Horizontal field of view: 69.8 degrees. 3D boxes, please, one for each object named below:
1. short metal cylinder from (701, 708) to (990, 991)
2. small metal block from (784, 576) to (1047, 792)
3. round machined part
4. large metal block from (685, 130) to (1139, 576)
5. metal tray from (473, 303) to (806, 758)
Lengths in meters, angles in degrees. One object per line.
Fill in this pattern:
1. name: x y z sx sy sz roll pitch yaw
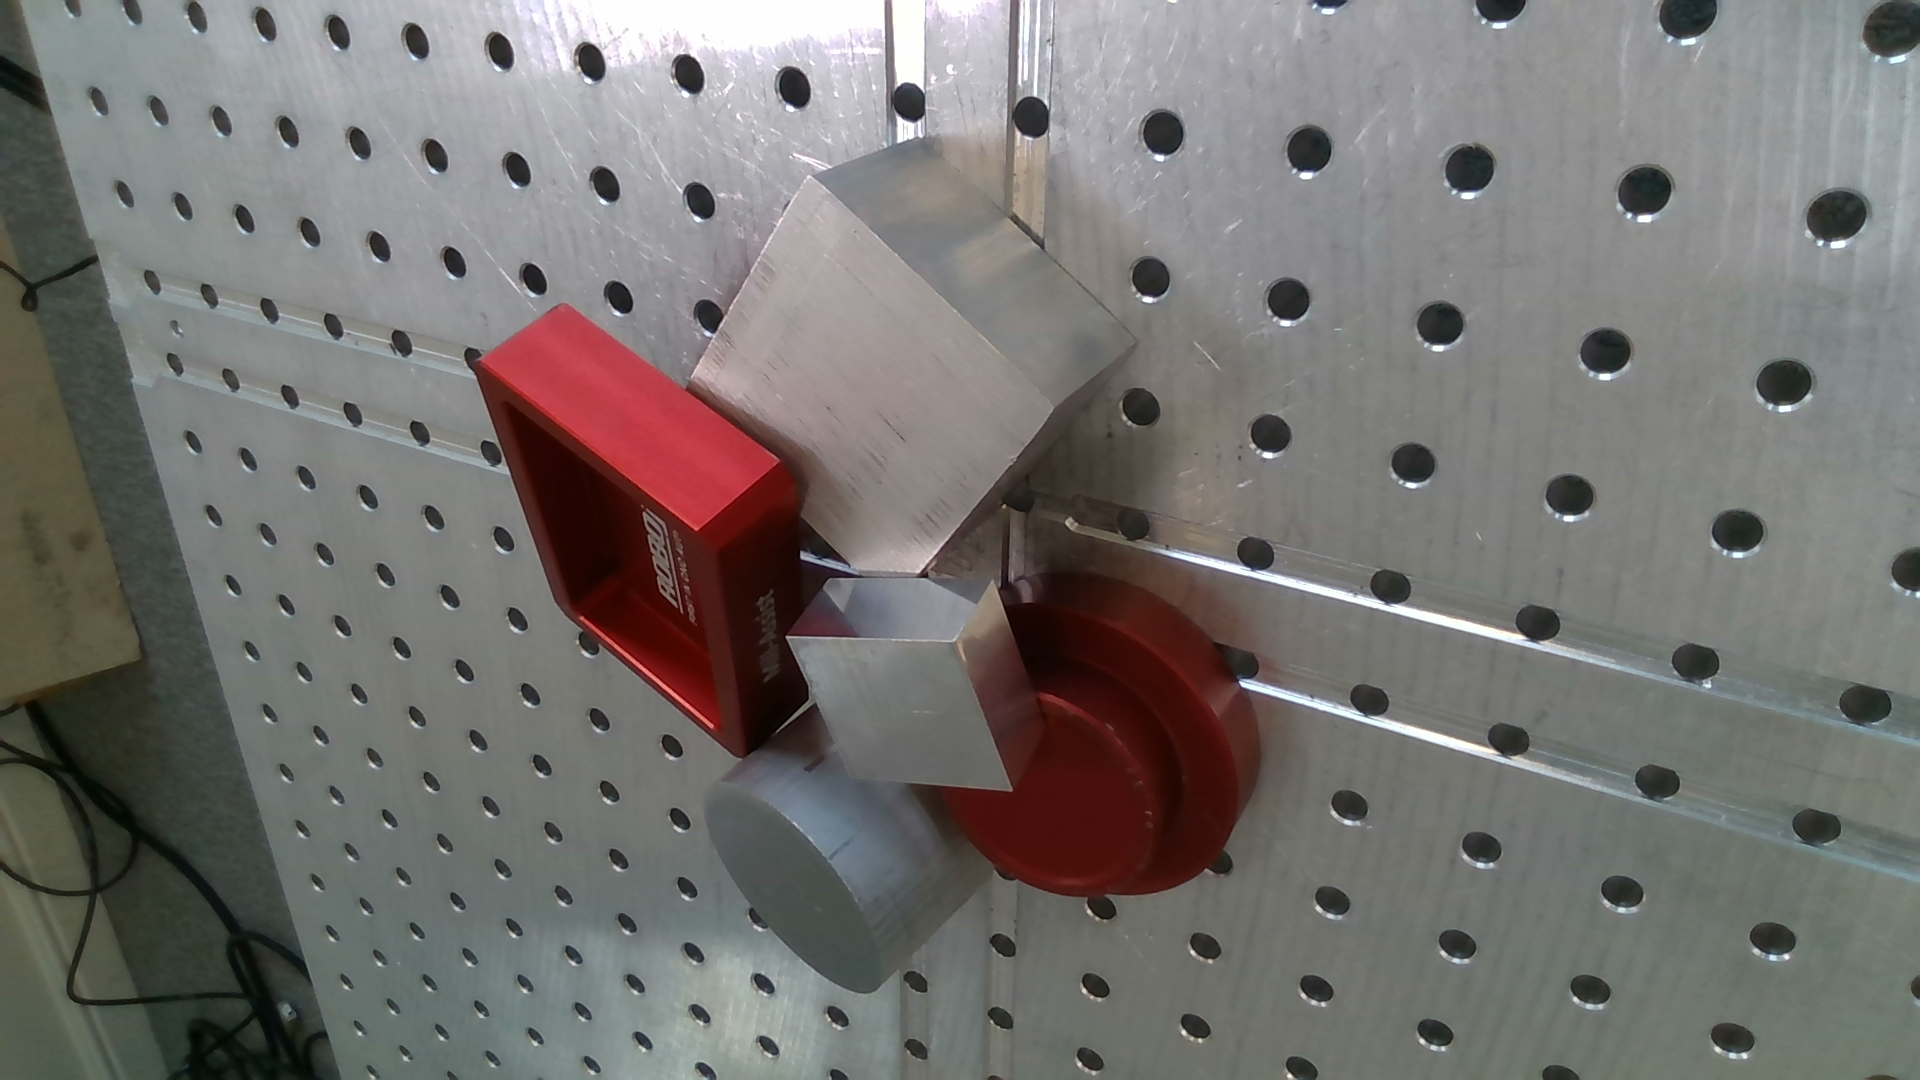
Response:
1. short metal cylinder: -0.036 0.094 0.435 0.080 0.050 0.080 31 141 29
2. small metal block: -0.011 0.037 0.359 0.050 0.025 0.050 -1 126 29
3. round machined part: 0.032 0.062 0.395 0.098 0.042 0.098 15 122 25
4. large metal block: -0.015 -0.045 0.360 0.080 0.050 0.080 44 129 4
5. metal tray: -0.090 0.003 0.409 0.090 0.030 0.130 36 151 19
